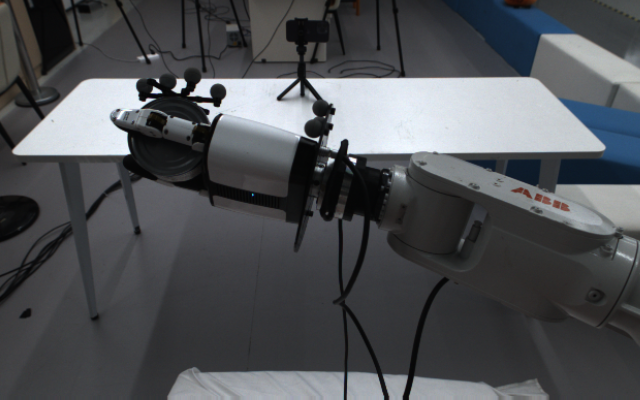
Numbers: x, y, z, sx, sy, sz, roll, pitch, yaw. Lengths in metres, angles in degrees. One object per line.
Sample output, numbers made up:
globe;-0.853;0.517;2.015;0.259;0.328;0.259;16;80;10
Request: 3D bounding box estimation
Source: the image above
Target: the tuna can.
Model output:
tuna can;-0.154;-0.064;0.512;0.085;0.034;0.085;0;77;-1
